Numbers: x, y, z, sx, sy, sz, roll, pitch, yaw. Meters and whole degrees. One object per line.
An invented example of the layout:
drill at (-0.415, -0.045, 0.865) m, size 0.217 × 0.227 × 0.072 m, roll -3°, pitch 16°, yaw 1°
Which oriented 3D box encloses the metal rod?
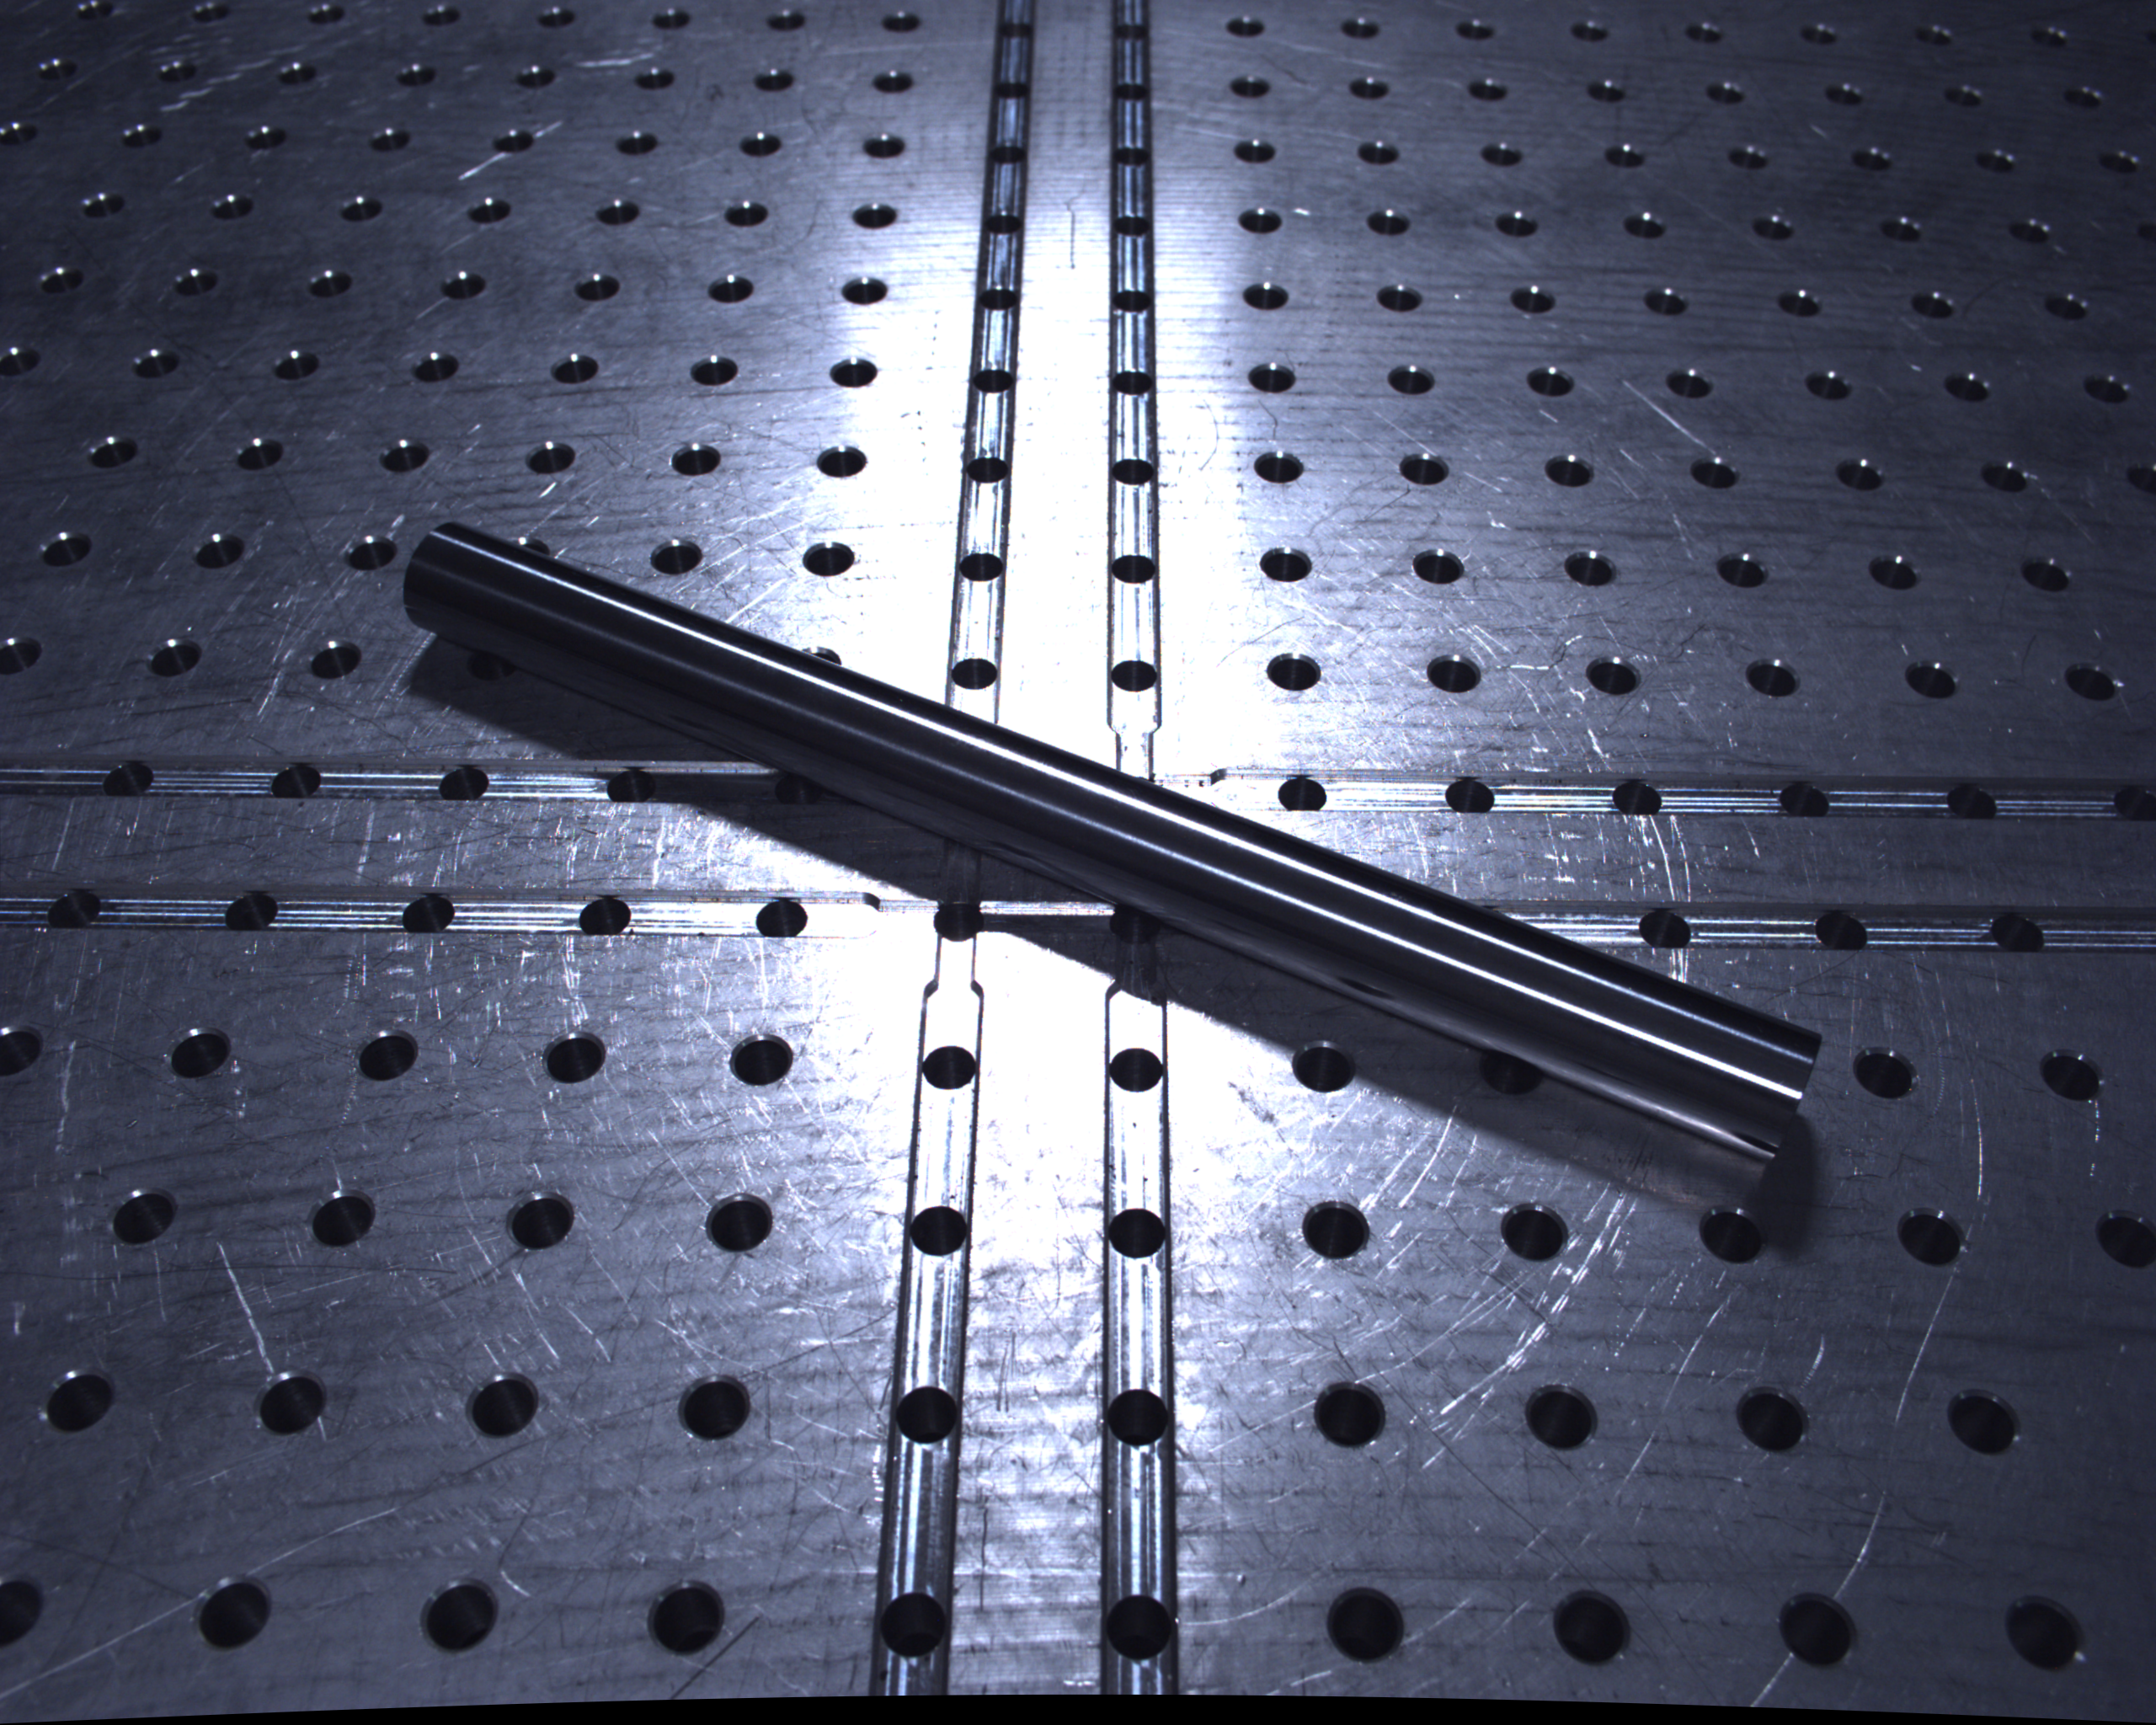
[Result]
metal rod at (-0.006, -0.010, 0.416) m, size 0.301 × 0.025 × 0.025 m, roll 21°, pitch 53°, yaw 16°
